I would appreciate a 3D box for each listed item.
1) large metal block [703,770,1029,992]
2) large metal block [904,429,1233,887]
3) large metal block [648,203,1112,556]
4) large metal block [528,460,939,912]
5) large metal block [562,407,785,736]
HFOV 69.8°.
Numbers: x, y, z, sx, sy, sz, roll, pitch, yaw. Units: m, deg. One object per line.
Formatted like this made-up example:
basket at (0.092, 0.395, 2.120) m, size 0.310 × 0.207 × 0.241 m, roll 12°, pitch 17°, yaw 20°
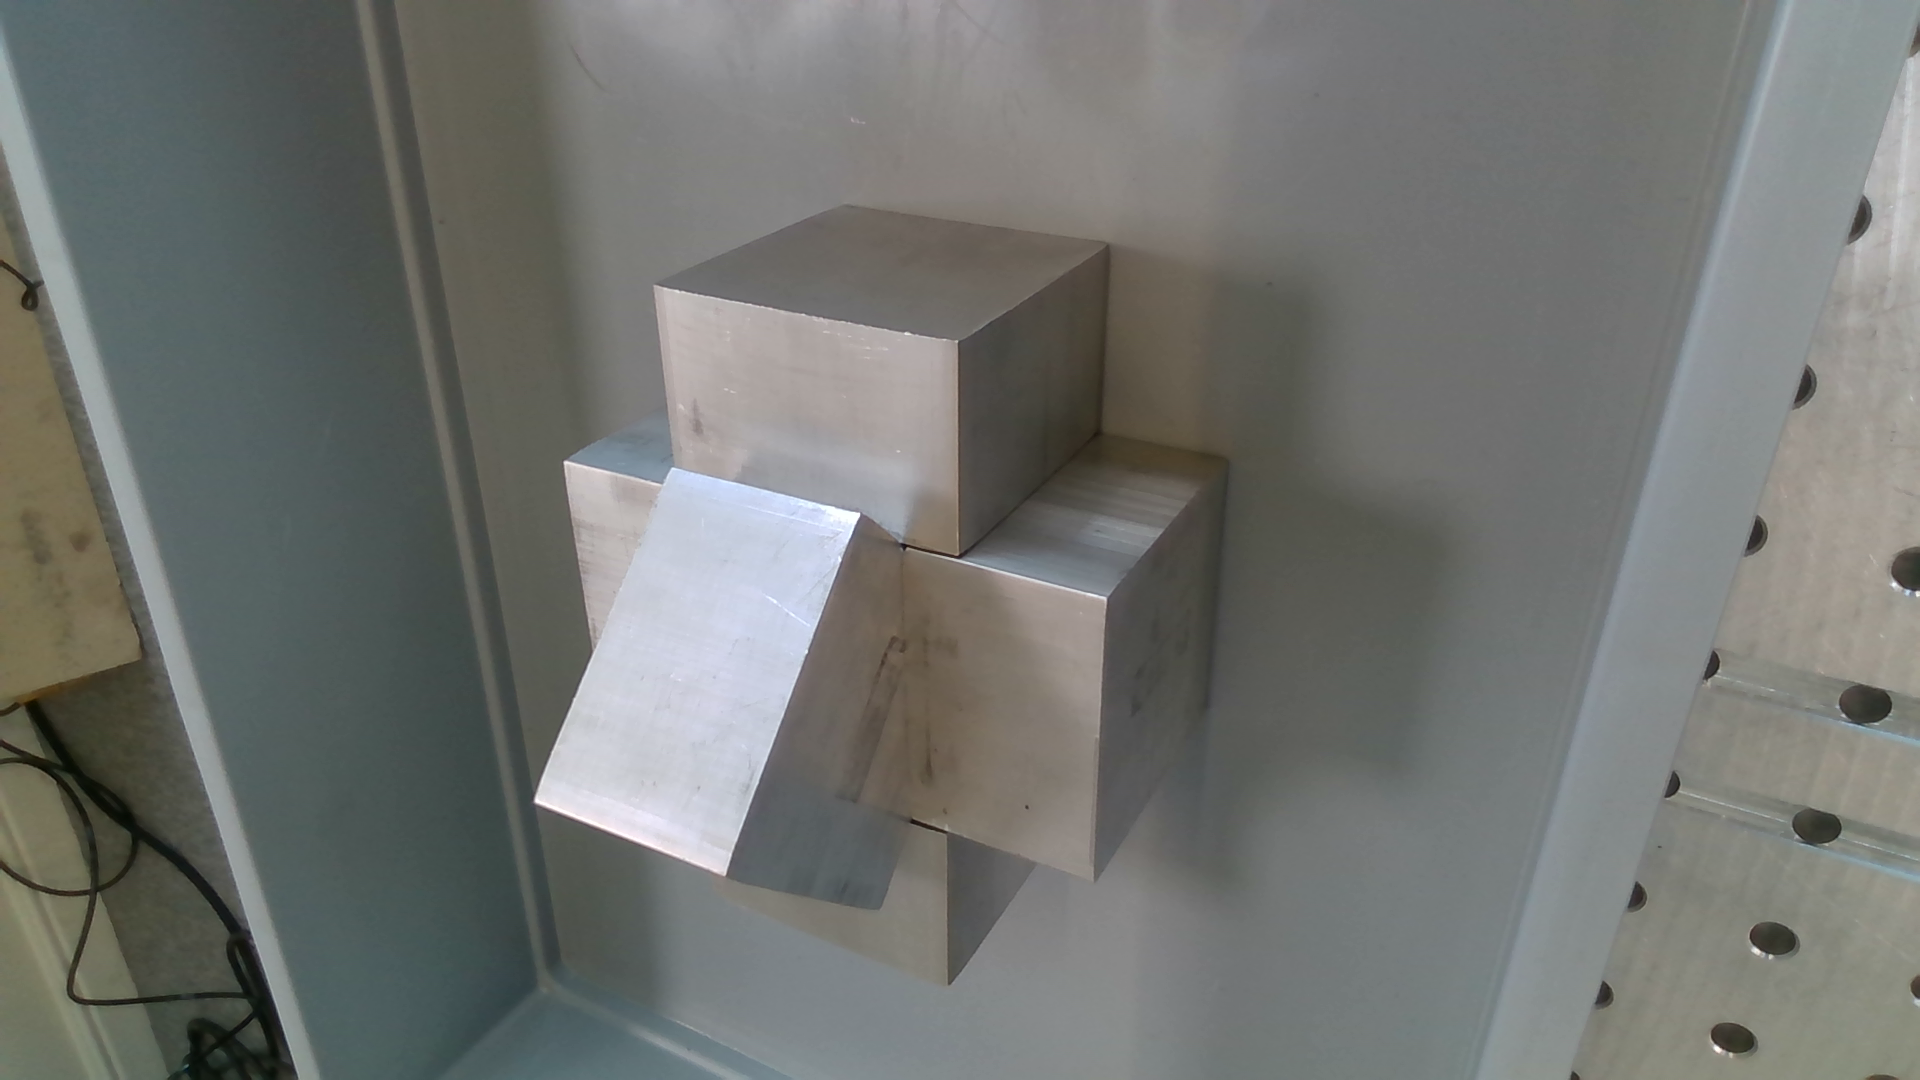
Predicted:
large metal block at (-0.020, 0.073, 0.402) m, size 0.080 × 0.080 × 0.050 m, roll 14°, pitch 122°, yaw 25°
large metal block at (0.029, 0.025, 0.349) m, size 0.050 × 0.080 × 0.080 m, roll 14°, pitch 122°, yaw 25°
large metal block at (-0.017, -0.044, 0.339) m, size 0.080 × 0.080 × 0.050 m, roll 14°, pitch 122°, yaw 25°
large metal block at (-0.043, 0.037, 0.326) m, size 0.050 × 0.080 × 0.080 m, roll 14°, pitch 167°, yaw 25°
large metal block at (-0.060, 0.003, 0.391) m, size 0.050 × 0.080 × 0.080 m, roll 14°, pitch 122°, yaw 25°
